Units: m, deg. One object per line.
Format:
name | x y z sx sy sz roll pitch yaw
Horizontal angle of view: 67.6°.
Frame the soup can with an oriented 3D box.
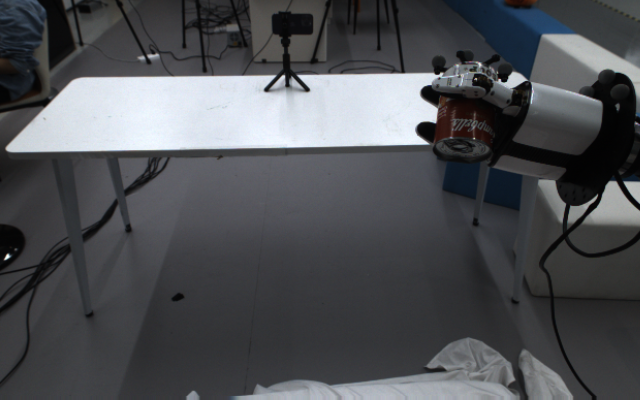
soup can | 0.175 -0.104 0.575 0.067 0.067 0.101 8 72 9
